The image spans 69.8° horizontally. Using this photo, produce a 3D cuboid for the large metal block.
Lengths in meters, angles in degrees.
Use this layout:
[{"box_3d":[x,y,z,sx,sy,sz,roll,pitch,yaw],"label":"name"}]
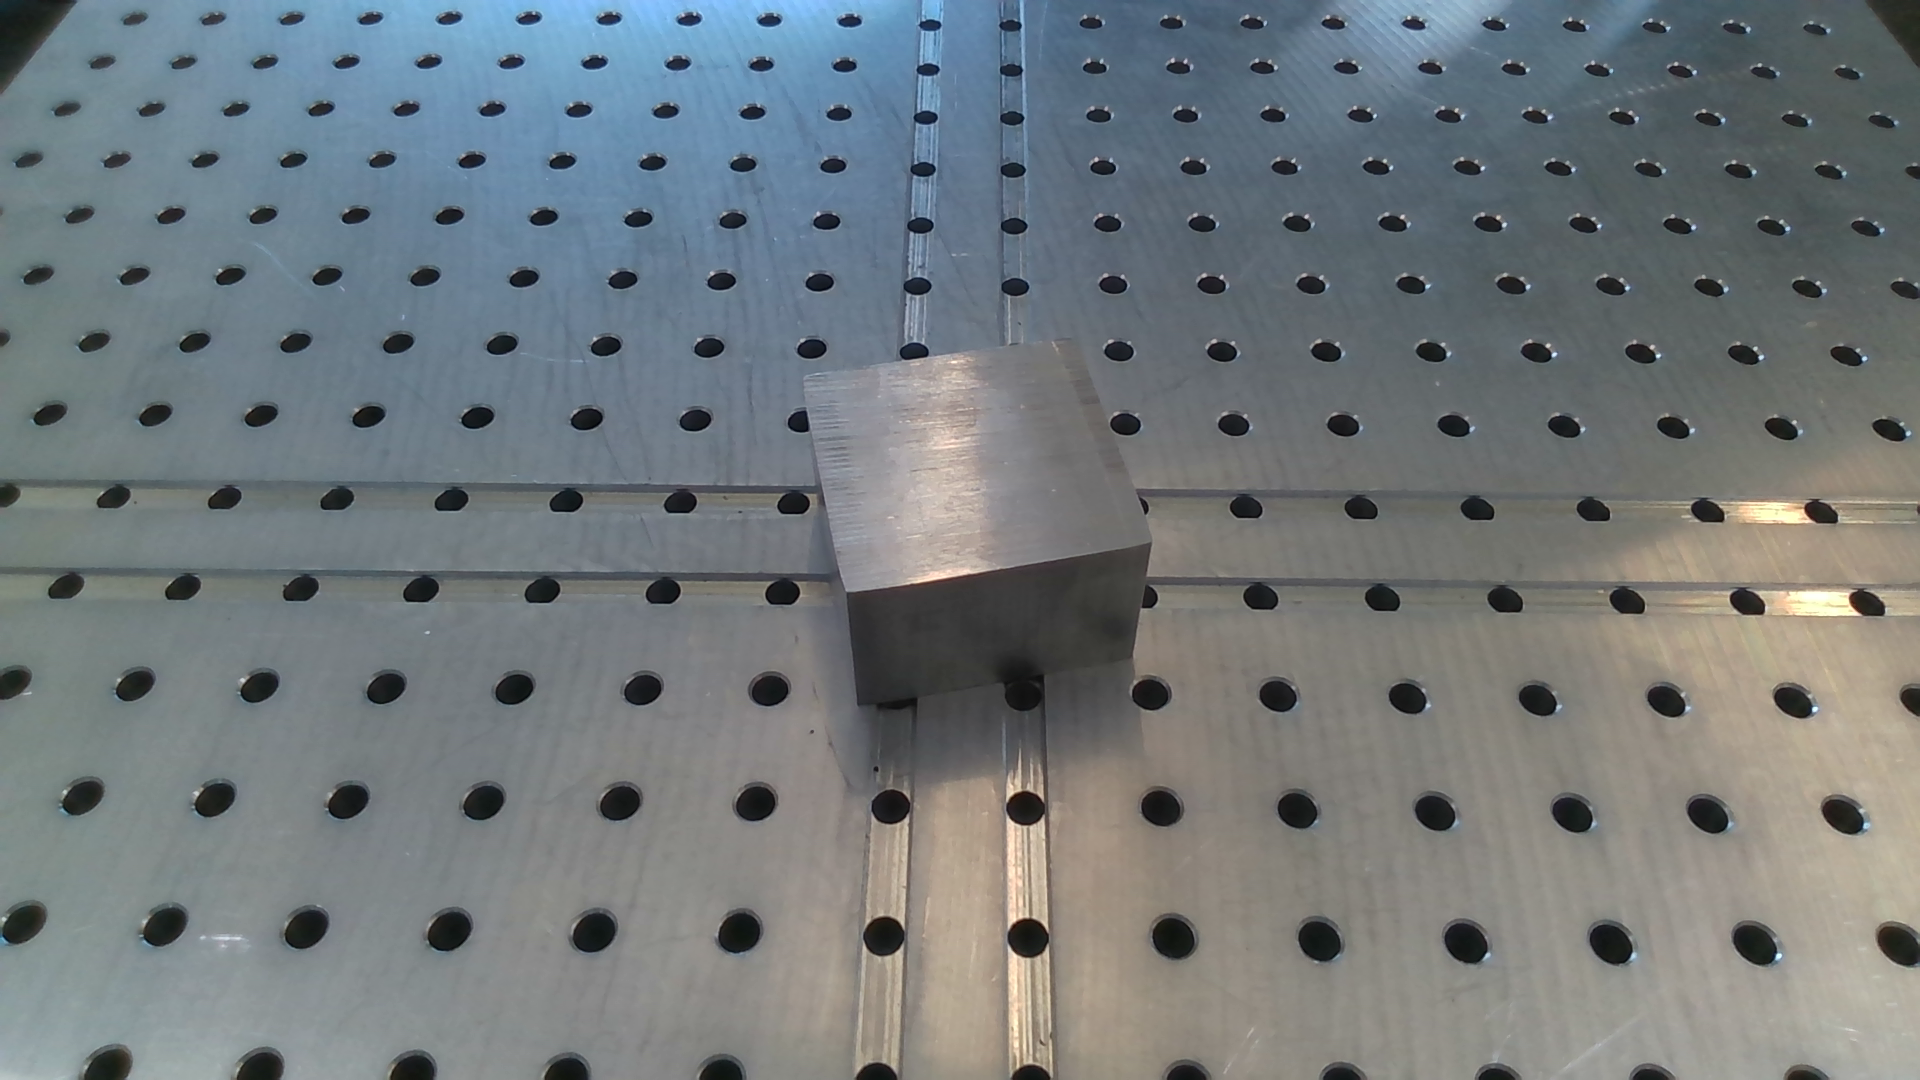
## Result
[{"box_3d":[0.002,-0.007,0.386,0.080,0.050,0.080,-10,51,-8],"label":"large metal block"}]
